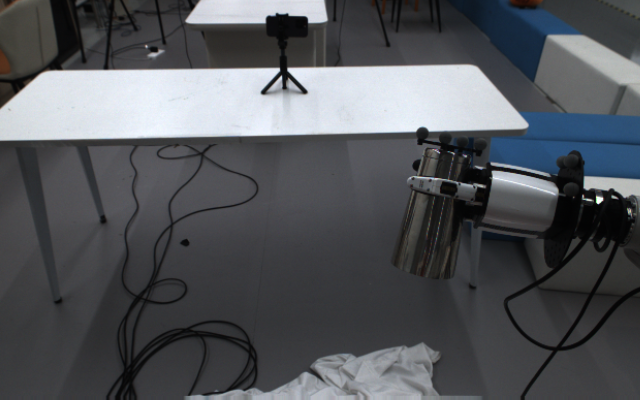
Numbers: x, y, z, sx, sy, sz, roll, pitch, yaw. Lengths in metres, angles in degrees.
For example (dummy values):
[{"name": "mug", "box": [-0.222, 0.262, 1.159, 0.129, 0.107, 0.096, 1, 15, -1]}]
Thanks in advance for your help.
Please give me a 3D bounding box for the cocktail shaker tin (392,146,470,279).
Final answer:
[{"name": "cocktail shaker tin", "box": [0.166, 0.013, 0.687, 0.093, 0.170, 0.093, 10, 9, -2]}]
